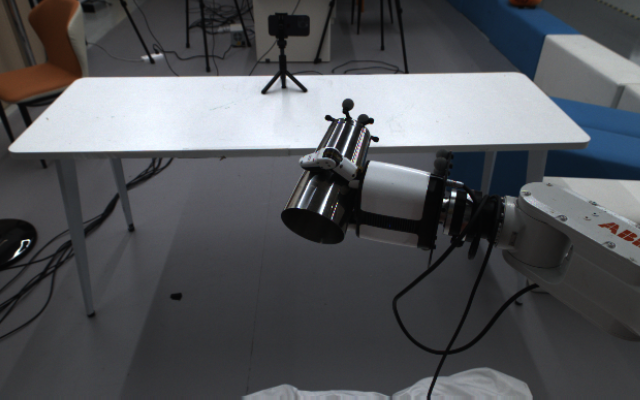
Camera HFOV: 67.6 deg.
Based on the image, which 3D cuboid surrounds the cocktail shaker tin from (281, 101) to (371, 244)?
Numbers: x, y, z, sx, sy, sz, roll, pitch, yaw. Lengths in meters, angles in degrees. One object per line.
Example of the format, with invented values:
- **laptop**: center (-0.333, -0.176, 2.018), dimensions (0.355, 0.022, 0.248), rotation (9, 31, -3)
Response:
- **cocktail shaker tin**: center (0.016, -0.032, 0.690), dimensions (0.093, 0.093, 0.170), rotation (14, 61, 17)
